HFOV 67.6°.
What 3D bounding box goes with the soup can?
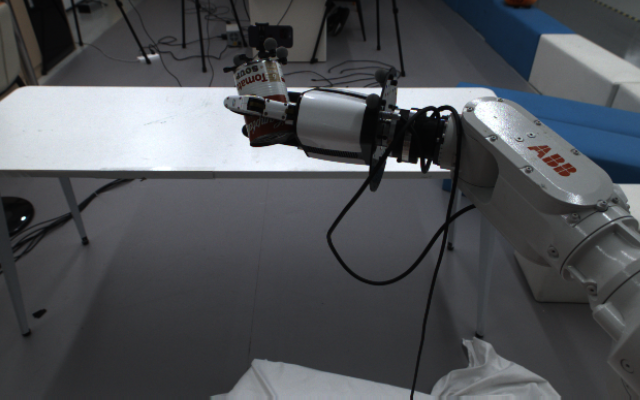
[{"bbox_3d":[-0.074,-0.130,0.658,0.067,0.101,0.067,-14,-2,-1],"label":"soup can"}]
